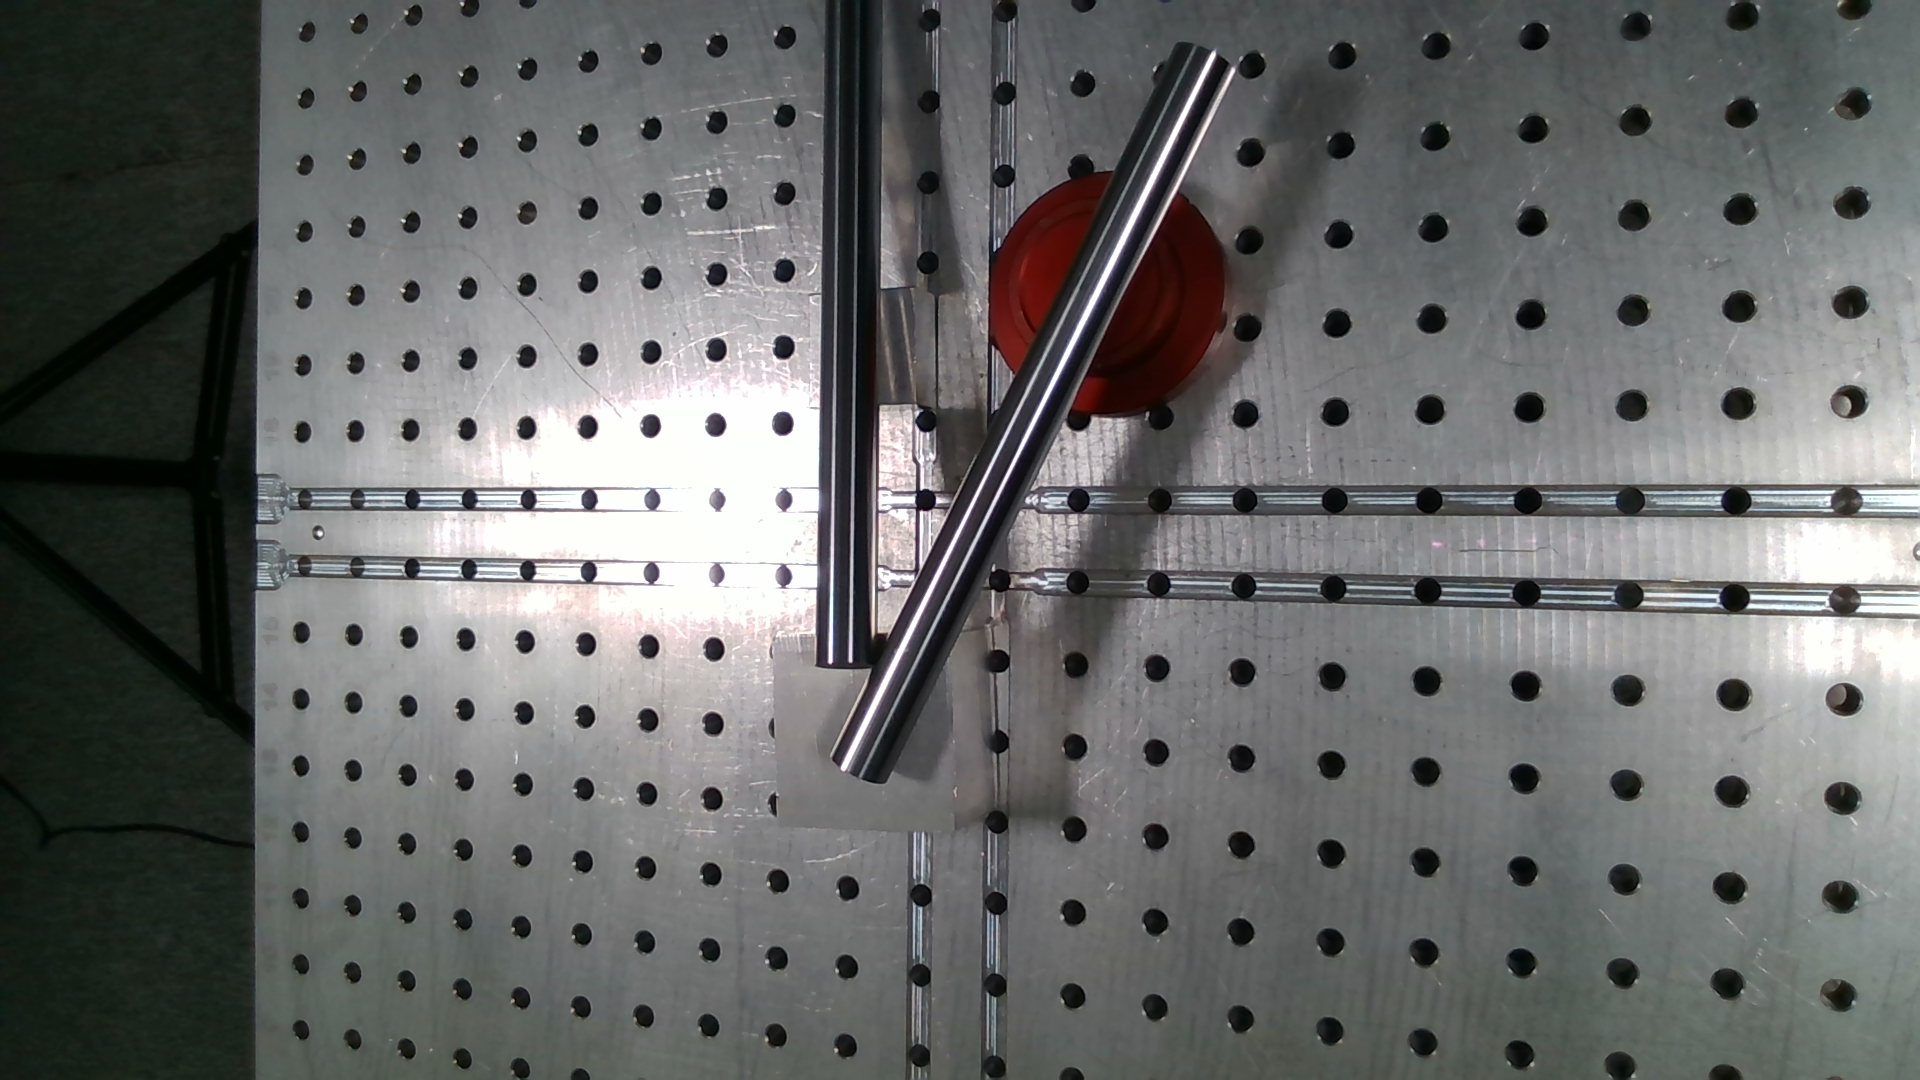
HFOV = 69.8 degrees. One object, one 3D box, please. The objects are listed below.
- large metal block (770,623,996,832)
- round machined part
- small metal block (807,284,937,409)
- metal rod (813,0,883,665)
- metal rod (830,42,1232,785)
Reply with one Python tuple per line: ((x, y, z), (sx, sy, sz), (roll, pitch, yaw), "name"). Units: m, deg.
((-0.032, 0.077, 0.584), (0.080, 0.050, 0.080), (-2, 90, 20), "large metal block")
((0.057, -0.101, 0.557), (0.098, 0.042, 0.098), (0, 91, 20), "round machined part")
((-0.038, -0.083, 0.602), (0.050, 0.025, 0.050), (0, 90, 20), "small metal block")
((-0.046, -0.098, 0.575), (0.025, 0.025, 0.300), (-4, 79, 20), "metal rod")
((0.025, -0.044, 0.527), (0.025, 0.025, 0.300), (28, 97, 18), "metal rod")
